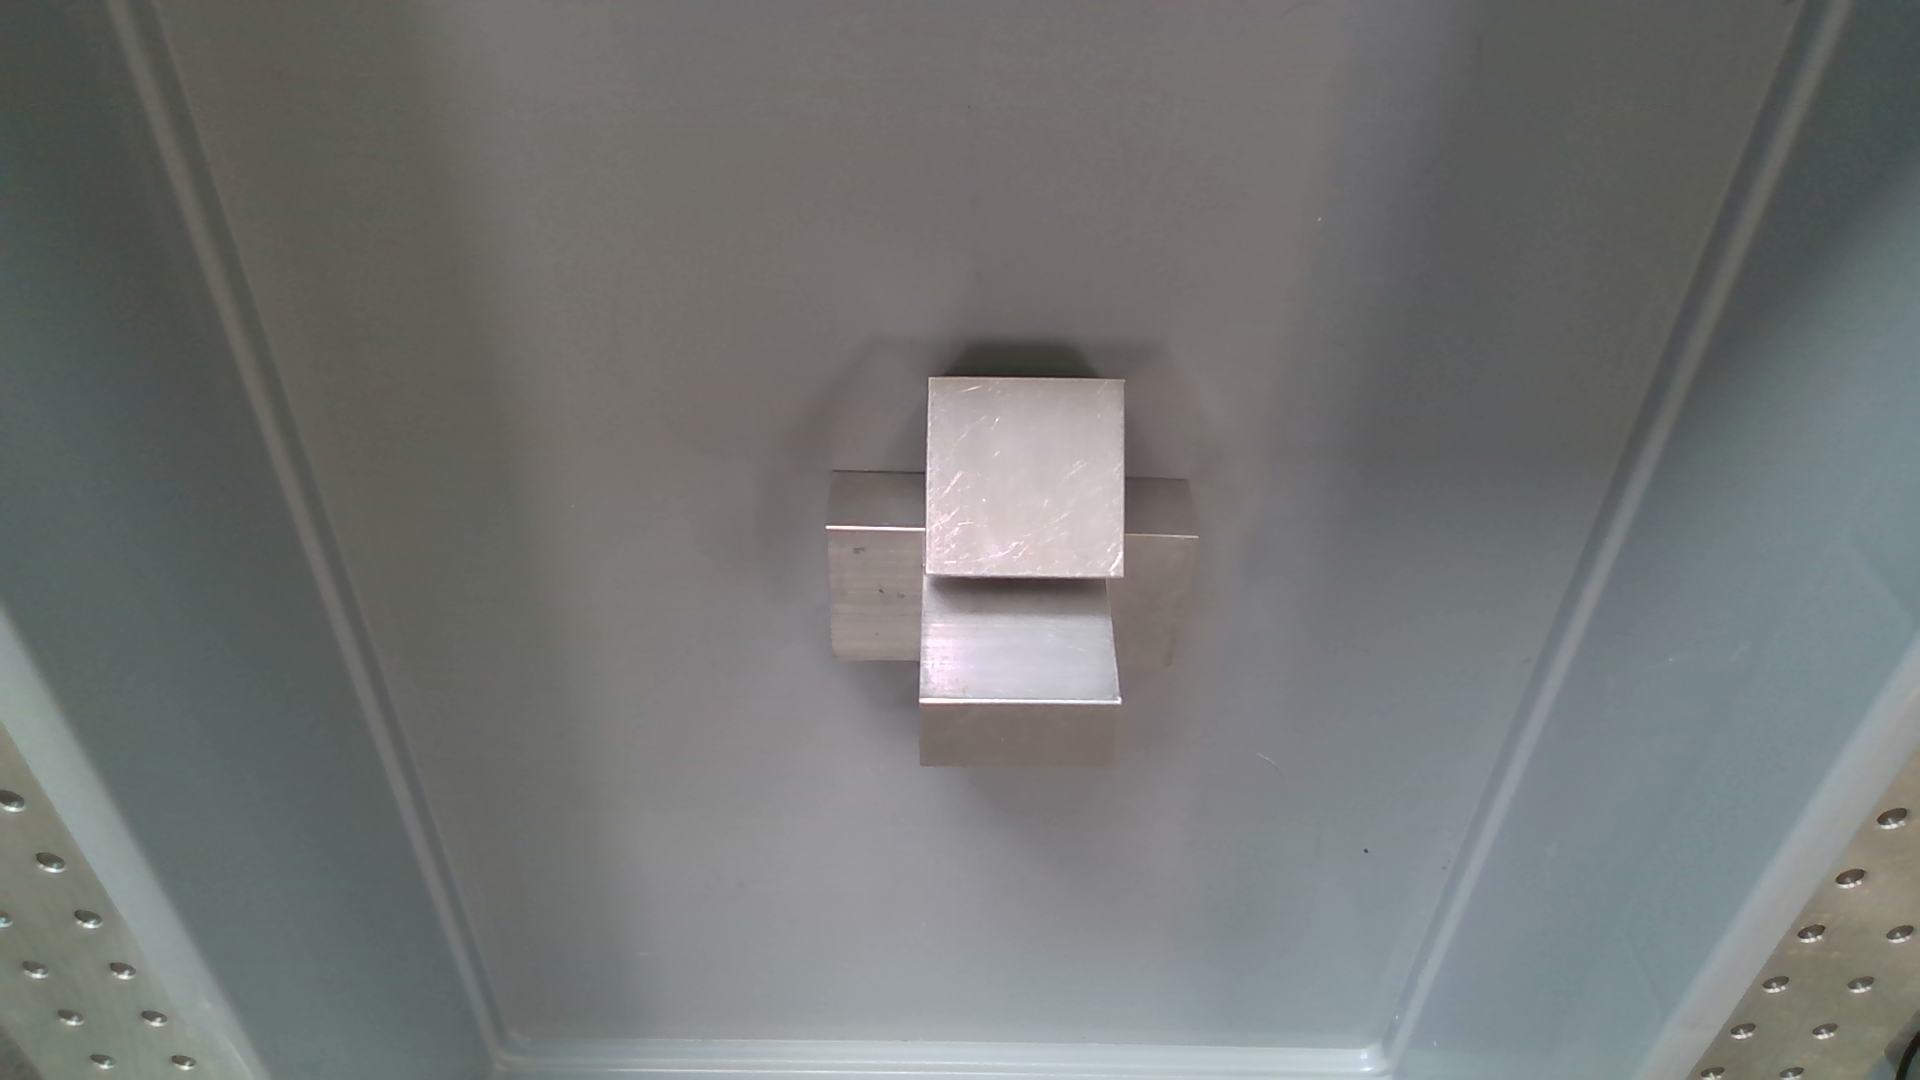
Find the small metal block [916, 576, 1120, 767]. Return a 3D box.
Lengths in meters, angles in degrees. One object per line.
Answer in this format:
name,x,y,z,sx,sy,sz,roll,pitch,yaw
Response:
small metal block,0.014,0.033,0.365,0.050,0.050,0.025,0,131,0

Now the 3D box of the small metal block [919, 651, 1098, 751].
small metal block,0.013,0.049,0.413,0.050,0.025,0.050,2,169,-1

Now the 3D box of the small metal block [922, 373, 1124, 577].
small metal block,0.016,-0.016,0.356,0.050,0.025,0.050,1,87,0

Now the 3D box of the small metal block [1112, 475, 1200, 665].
small metal block,0.038,0.009,0.393,0.050,0.025,0.050,2,131,-2

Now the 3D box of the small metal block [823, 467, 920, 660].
small metal block,-0.013,0.008,0.393,0.050,0.025,0.050,2,130,-2
